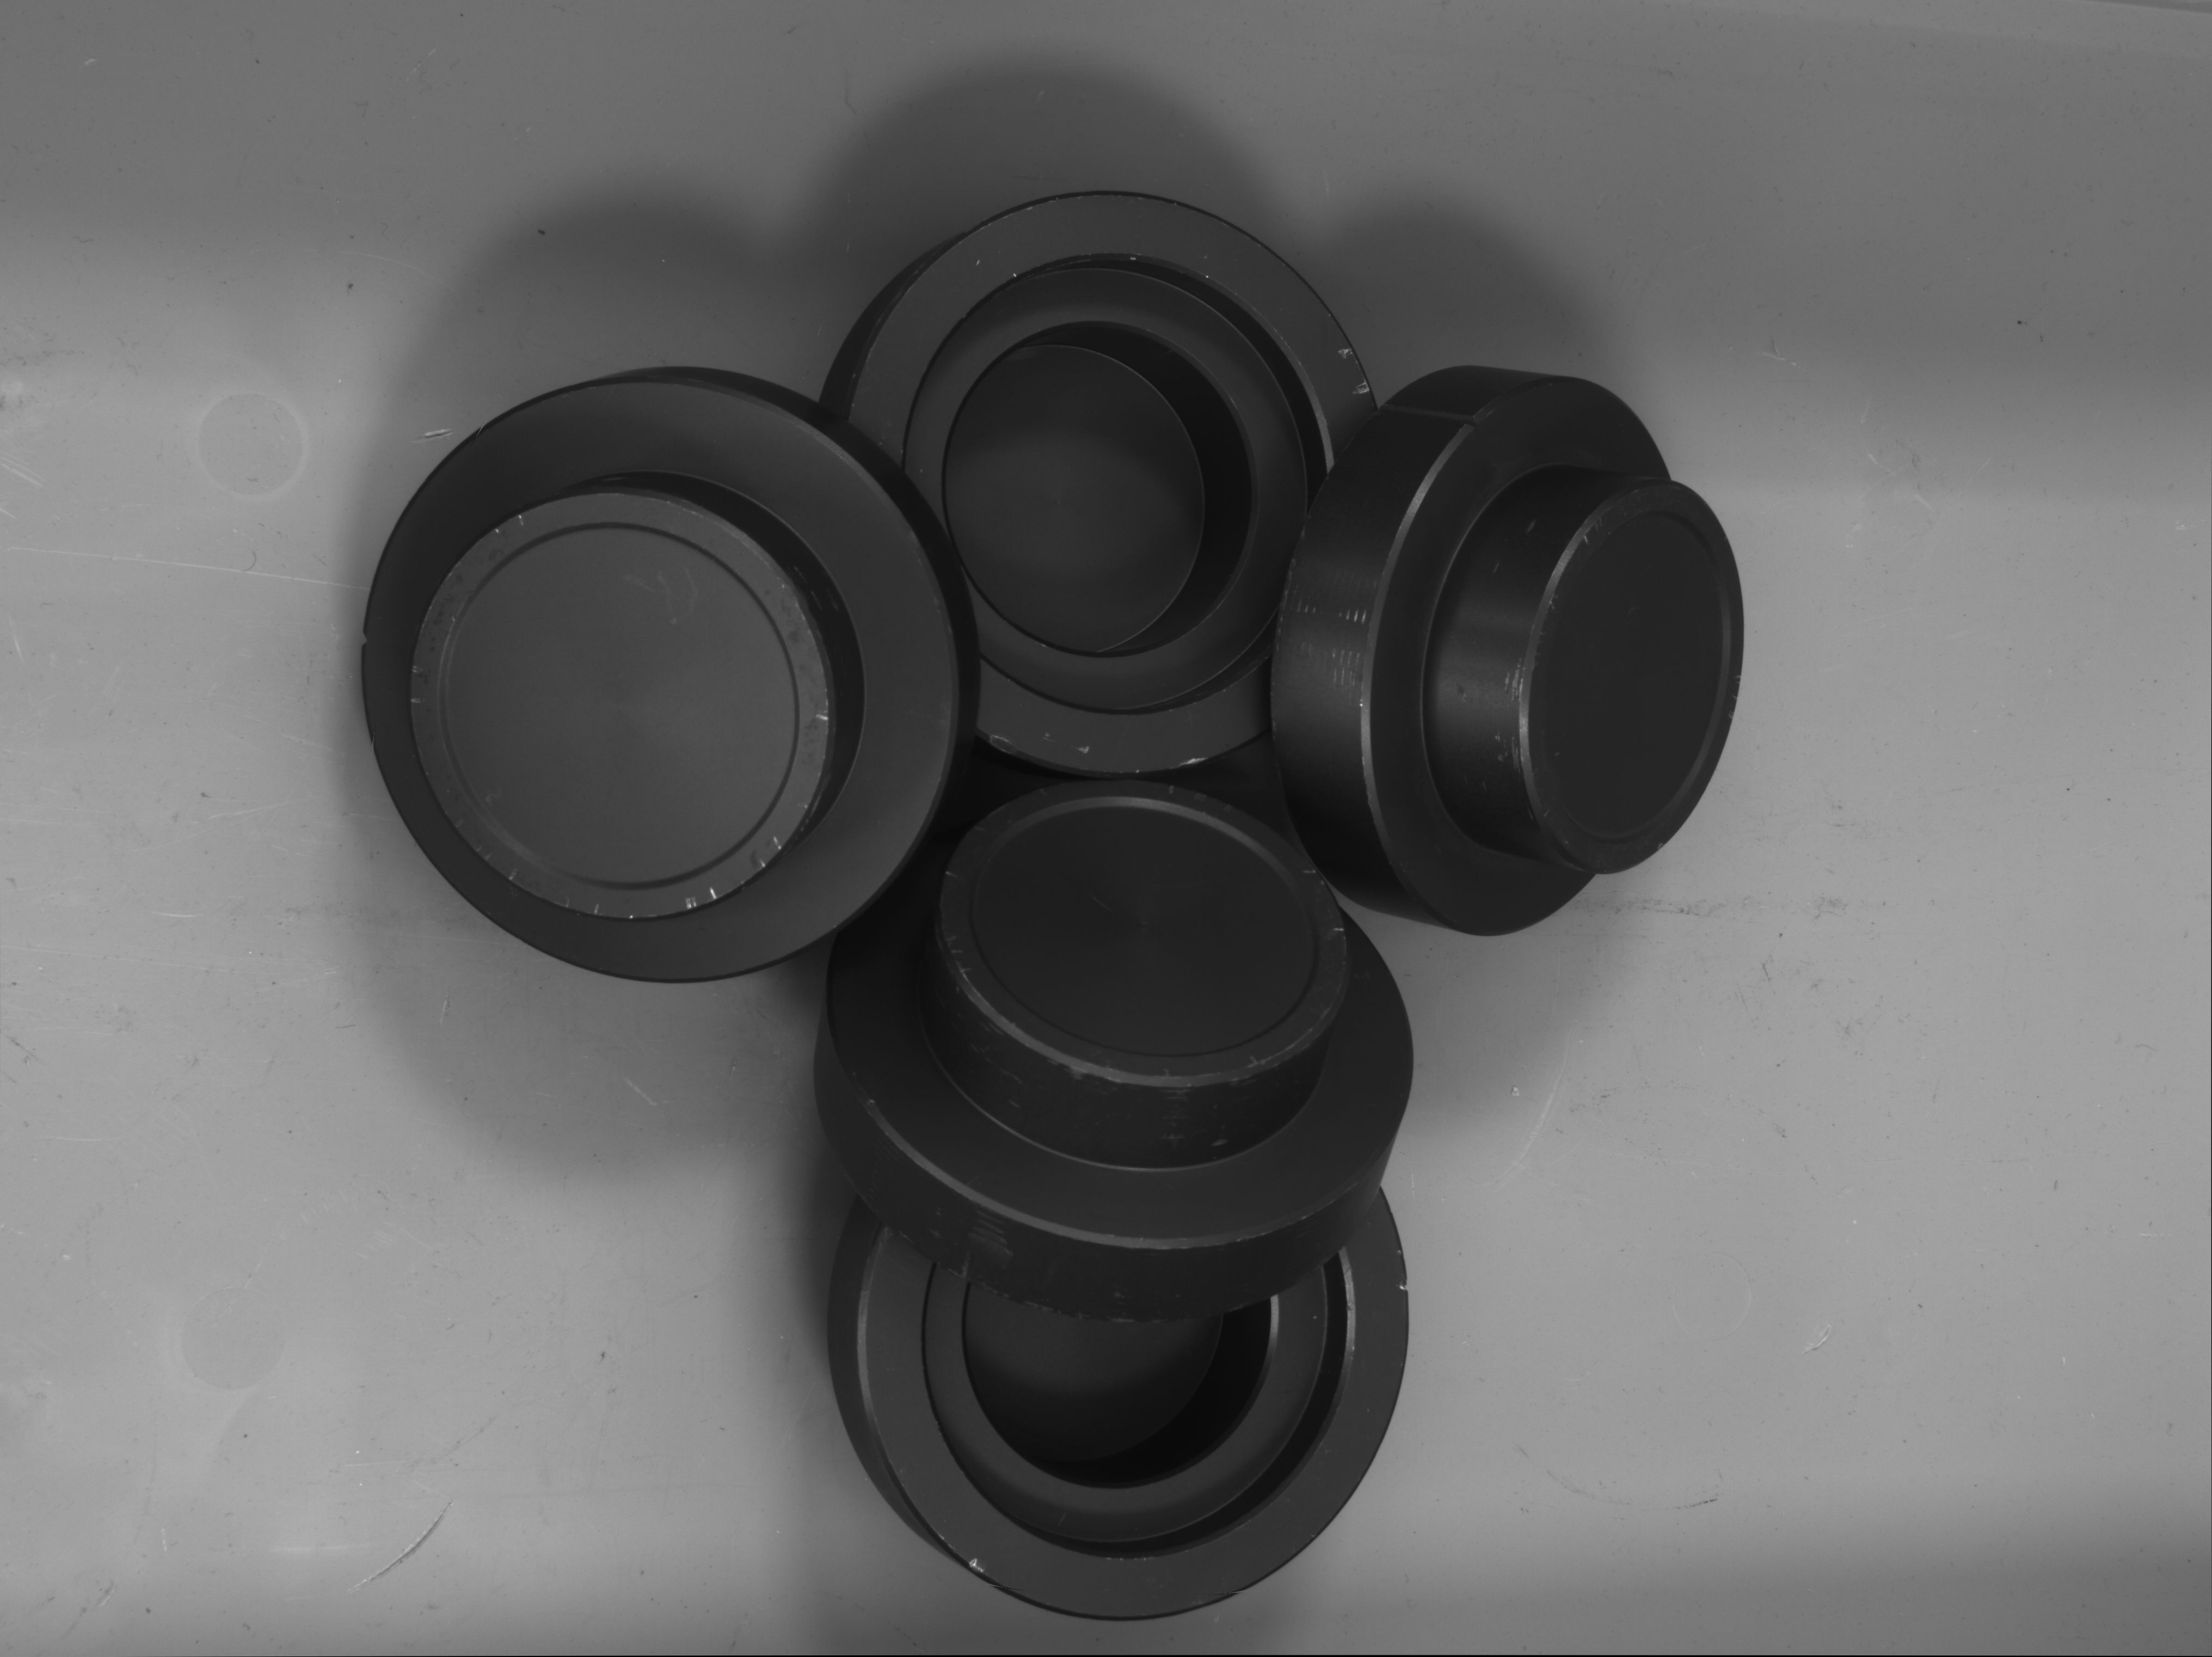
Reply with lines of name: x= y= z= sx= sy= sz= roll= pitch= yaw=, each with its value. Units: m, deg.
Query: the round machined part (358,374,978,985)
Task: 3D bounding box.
round machined part: x=-0.072 y=-0.022 z=0.583 sx=0.098 sy=0.042 sz=0.098 roll=1 pitch=101 yaw=8

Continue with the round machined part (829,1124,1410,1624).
round machined part: x=-0.001 y=0.084 z=0.632 sx=0.098 sy=0.042 sz=0.098 roll=0 pitch=90 yaw=-20

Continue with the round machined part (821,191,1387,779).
round machined part: x=-0.004 y=-0.057 z=0.630 sx=0.098 sy=0.042 sz=0.098 roll=0 pitch=90 yaw=-20

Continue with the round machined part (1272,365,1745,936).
round machined part: x=0.075 y=-0.029 z=0.636 sx=0.098 sy=0.042 sz=0.098 roll=-18 pitch=113 yaw=-46

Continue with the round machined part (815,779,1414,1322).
round machined part: x=0.003 y=0.030 z=0.603 sx=0.098 sy=0.098 sz=0.042 roll=-7 pitch=136 yaw=-20
